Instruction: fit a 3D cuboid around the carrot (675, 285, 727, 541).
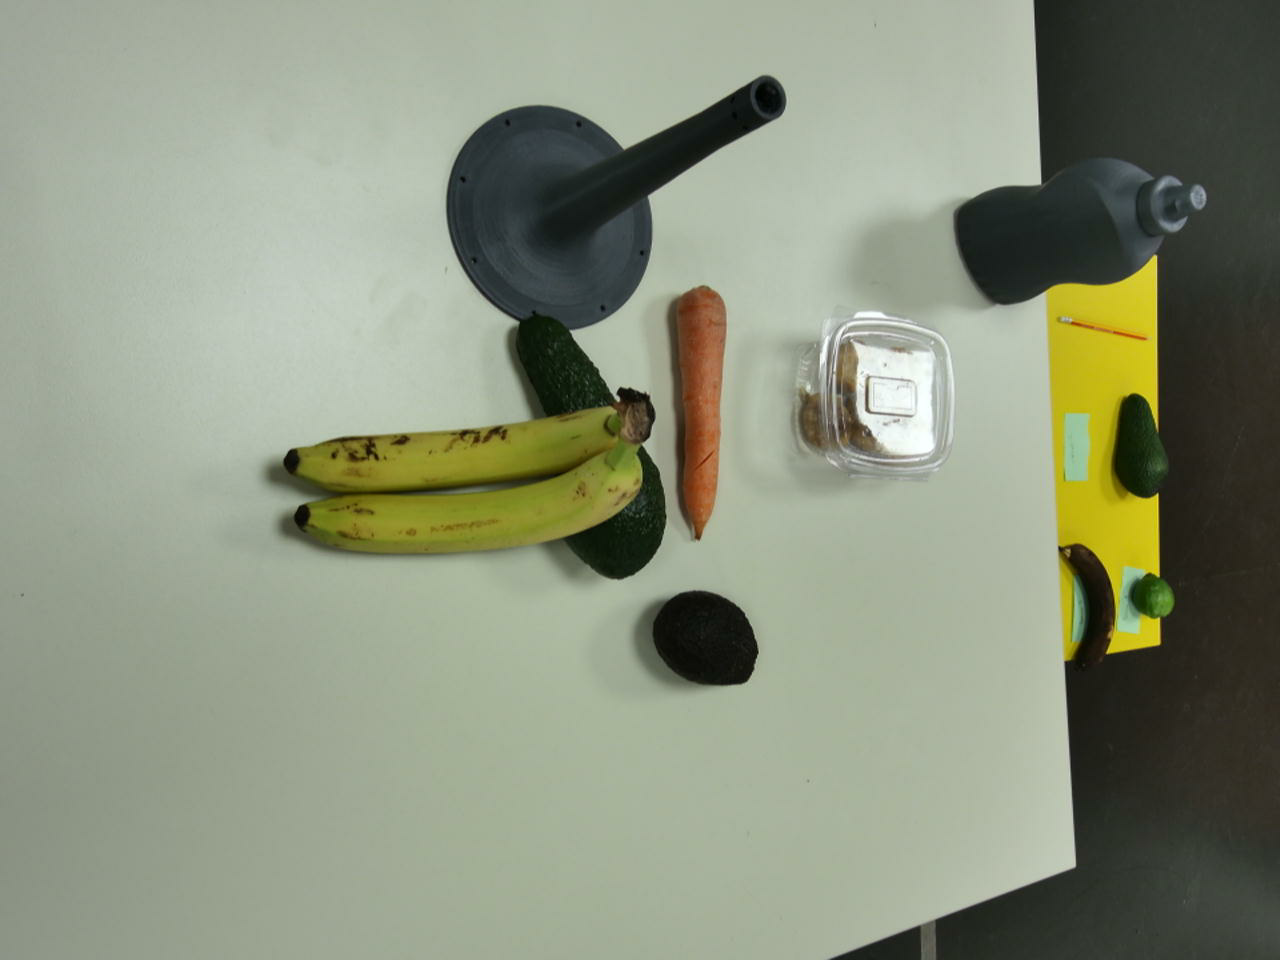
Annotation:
[{"bbox_3d":[0.049,-0.049,0.764,0.039,0.041,0.196,-4,93,-28],"label":"carrot"}]
